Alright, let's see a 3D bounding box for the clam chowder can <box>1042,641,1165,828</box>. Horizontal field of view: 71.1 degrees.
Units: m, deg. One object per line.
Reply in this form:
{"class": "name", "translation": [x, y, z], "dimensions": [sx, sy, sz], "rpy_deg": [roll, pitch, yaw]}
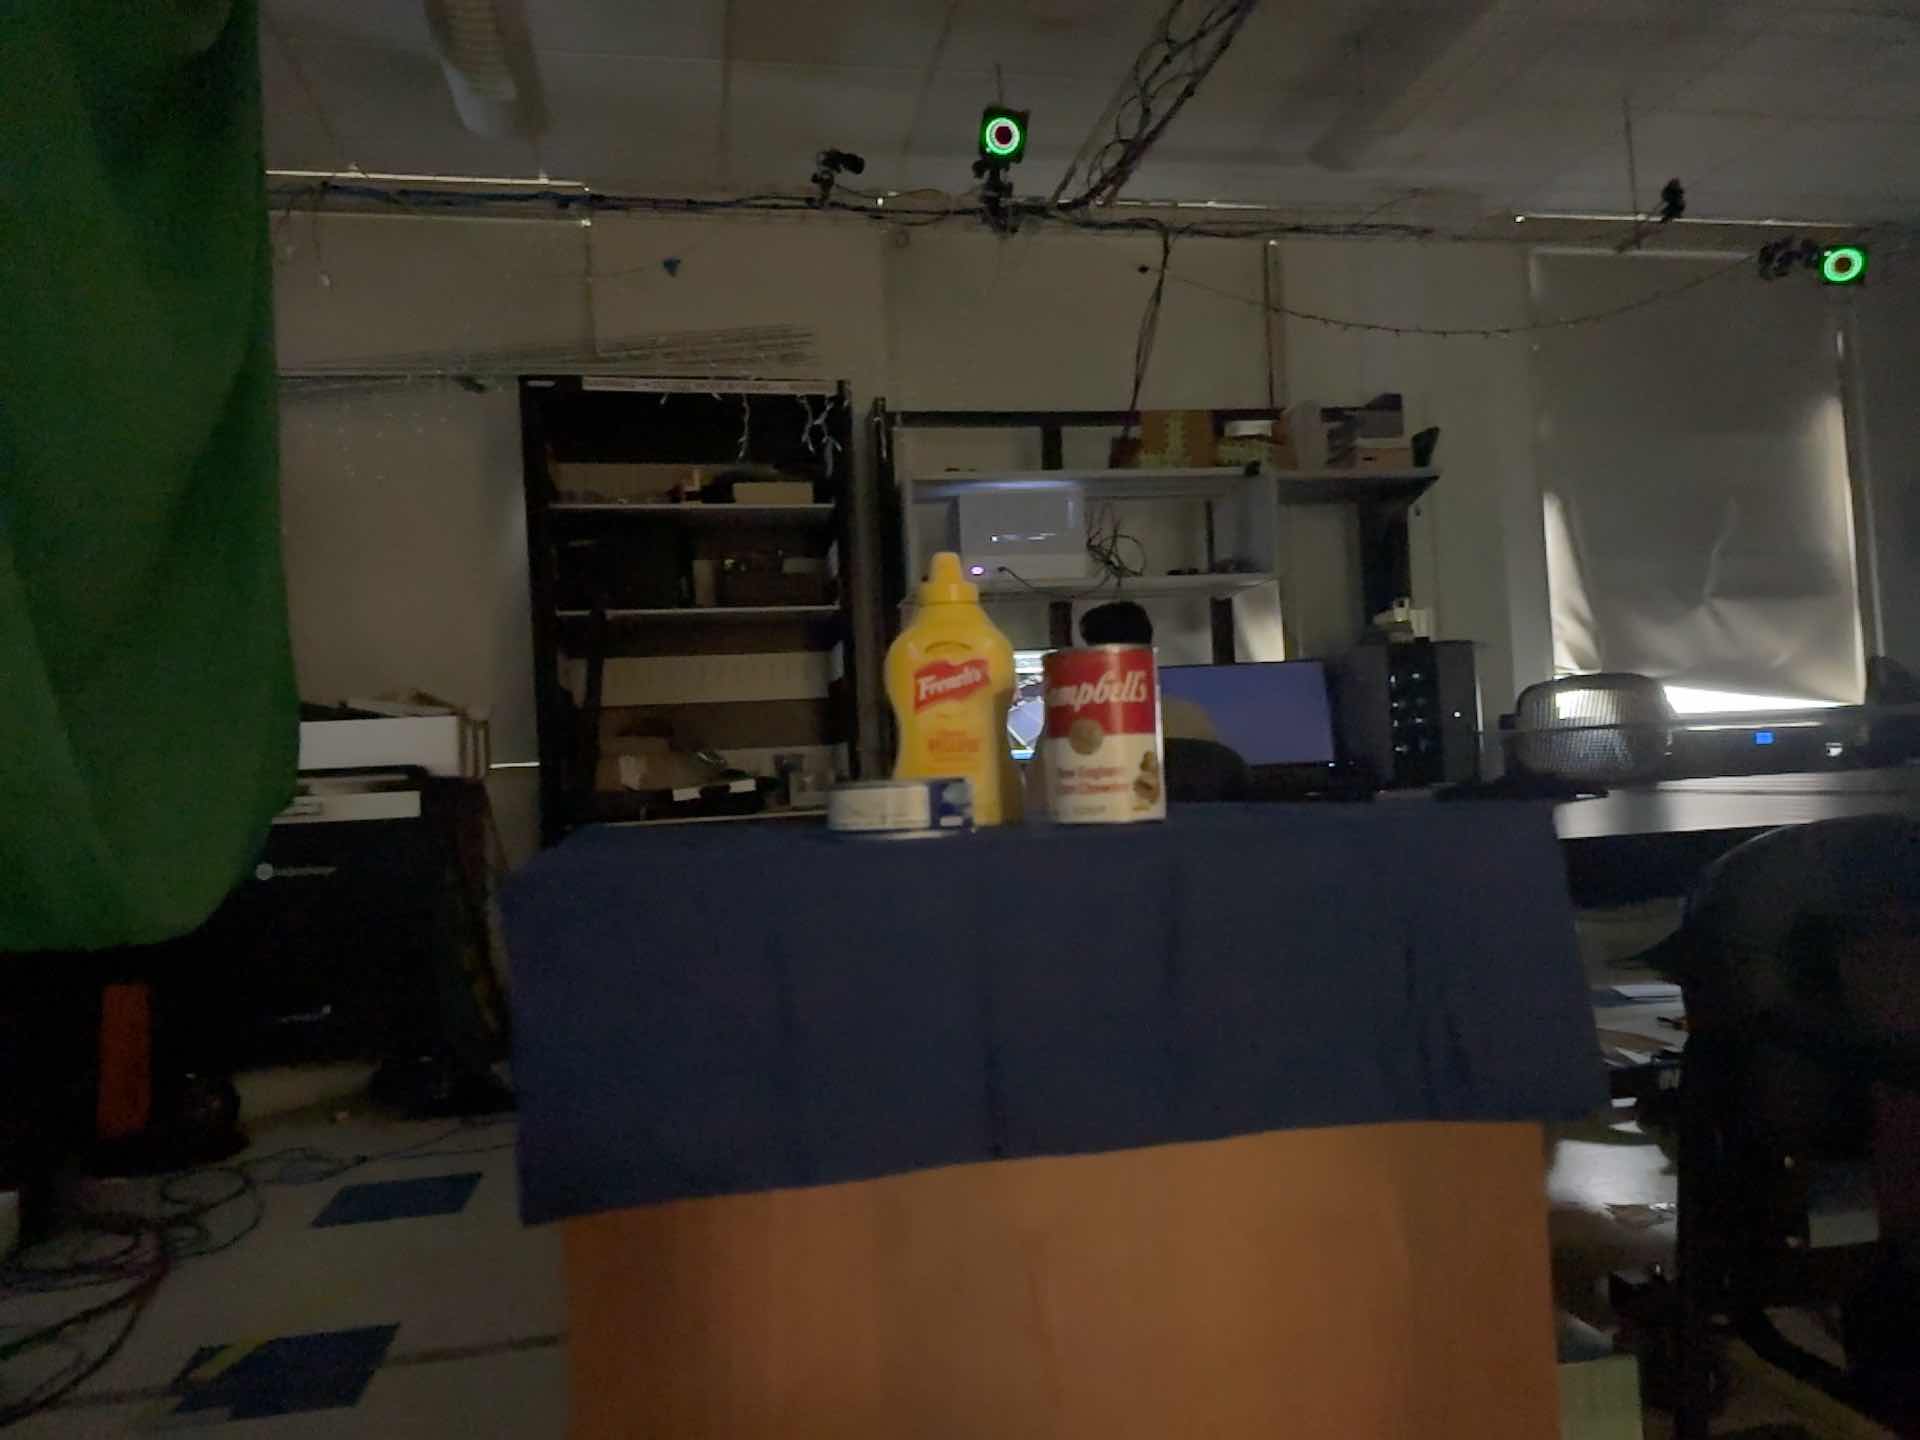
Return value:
{"class": "clam chowder can", "translation": [0.082, 0.007, 0.764], "dimensions": [0.068, 0.102, 0.068], "rpy_deg": [-2, 1, 0]}

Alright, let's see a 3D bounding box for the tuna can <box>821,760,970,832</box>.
{"class": "tuna can", "translation": [-0.037, 0.042, 0.762], "dimensions": [0.083, 0.034, 0.083], "rpy_deg": [-2, 1, 0]}

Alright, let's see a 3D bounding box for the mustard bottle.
{"class": "mustard bottle", "translation": [-0.004, -0.015, 0.851], "dimensions": [0.092, 0.184, 0.054], "rpy_deg": [-2, 2, 5]}
